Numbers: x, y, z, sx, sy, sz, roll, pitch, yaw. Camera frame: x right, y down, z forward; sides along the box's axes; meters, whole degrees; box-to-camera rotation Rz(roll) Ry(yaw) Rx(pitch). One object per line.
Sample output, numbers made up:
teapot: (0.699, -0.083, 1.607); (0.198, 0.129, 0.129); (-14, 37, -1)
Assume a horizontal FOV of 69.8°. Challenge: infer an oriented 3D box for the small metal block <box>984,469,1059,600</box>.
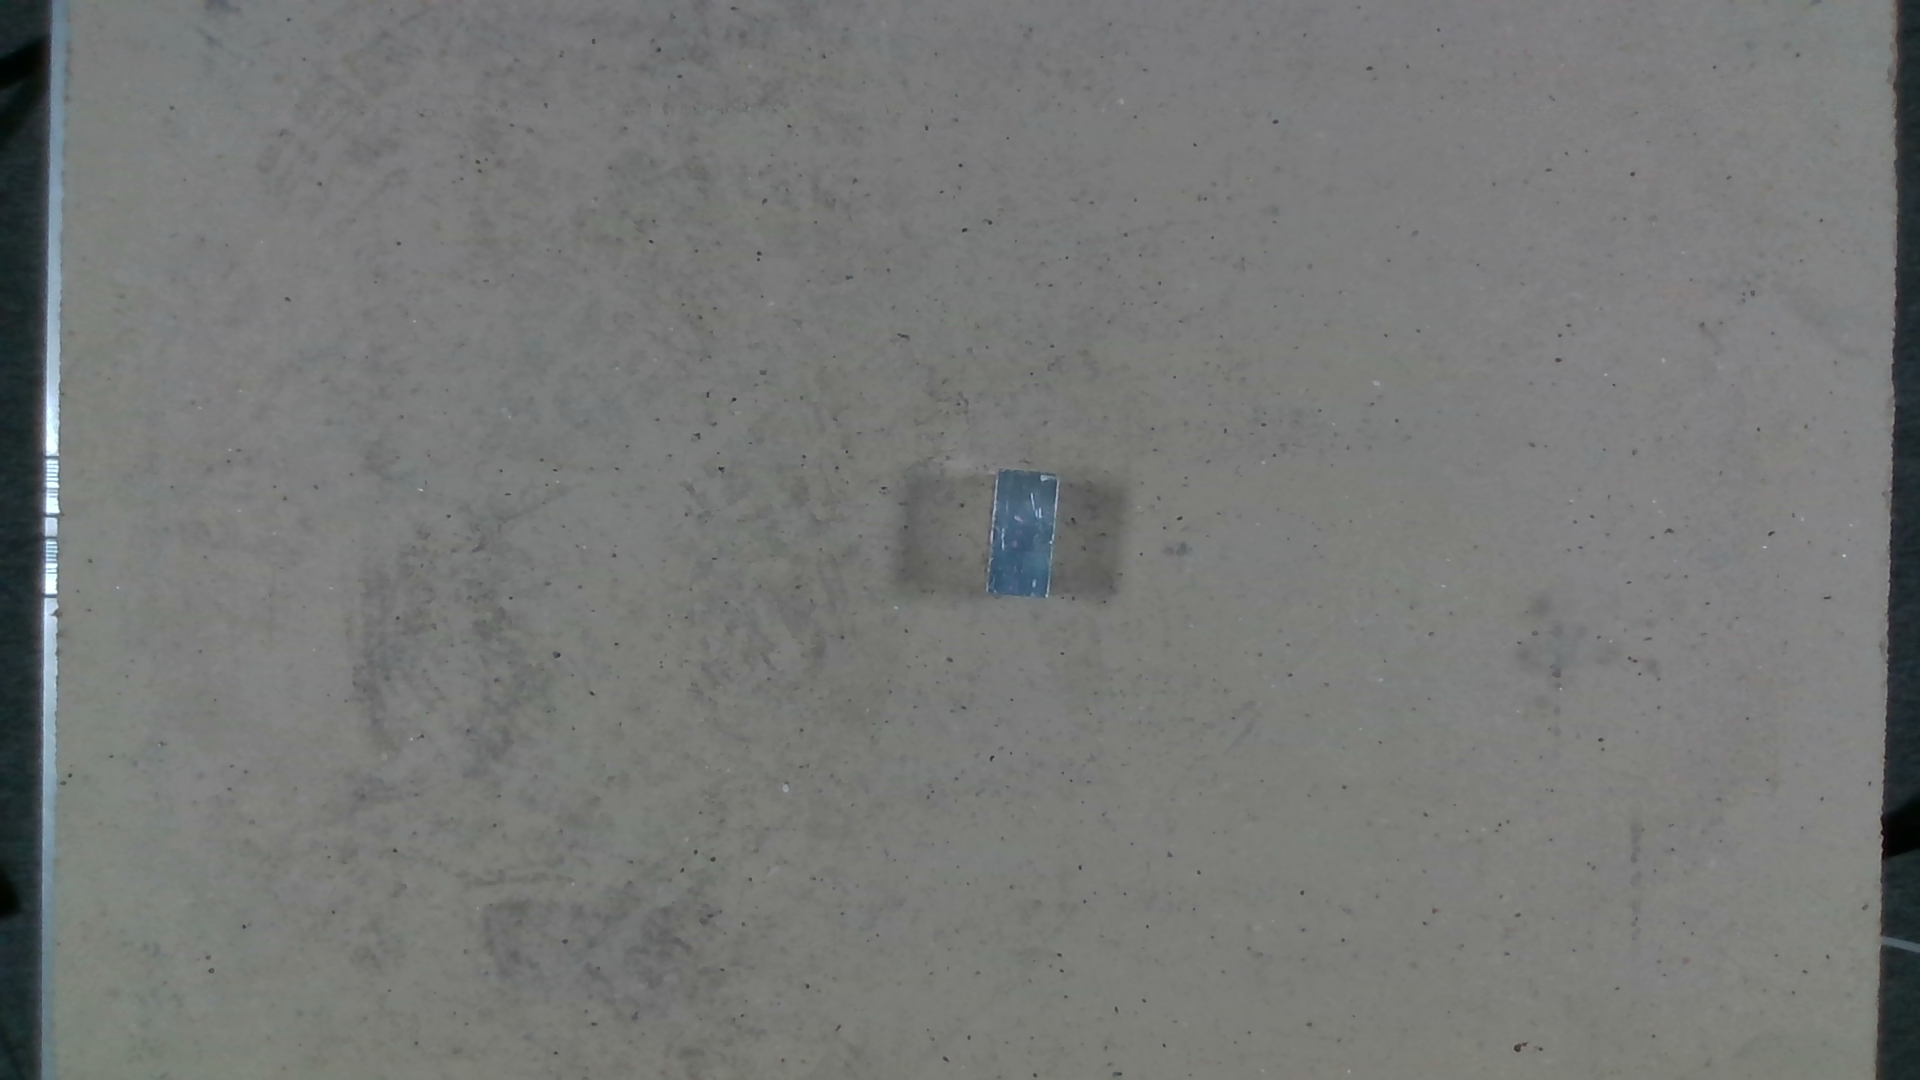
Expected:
small metal block: (0.025, -0.002, 0.574); (0.025, 0.050, 0.050); (5, 90, 0)
